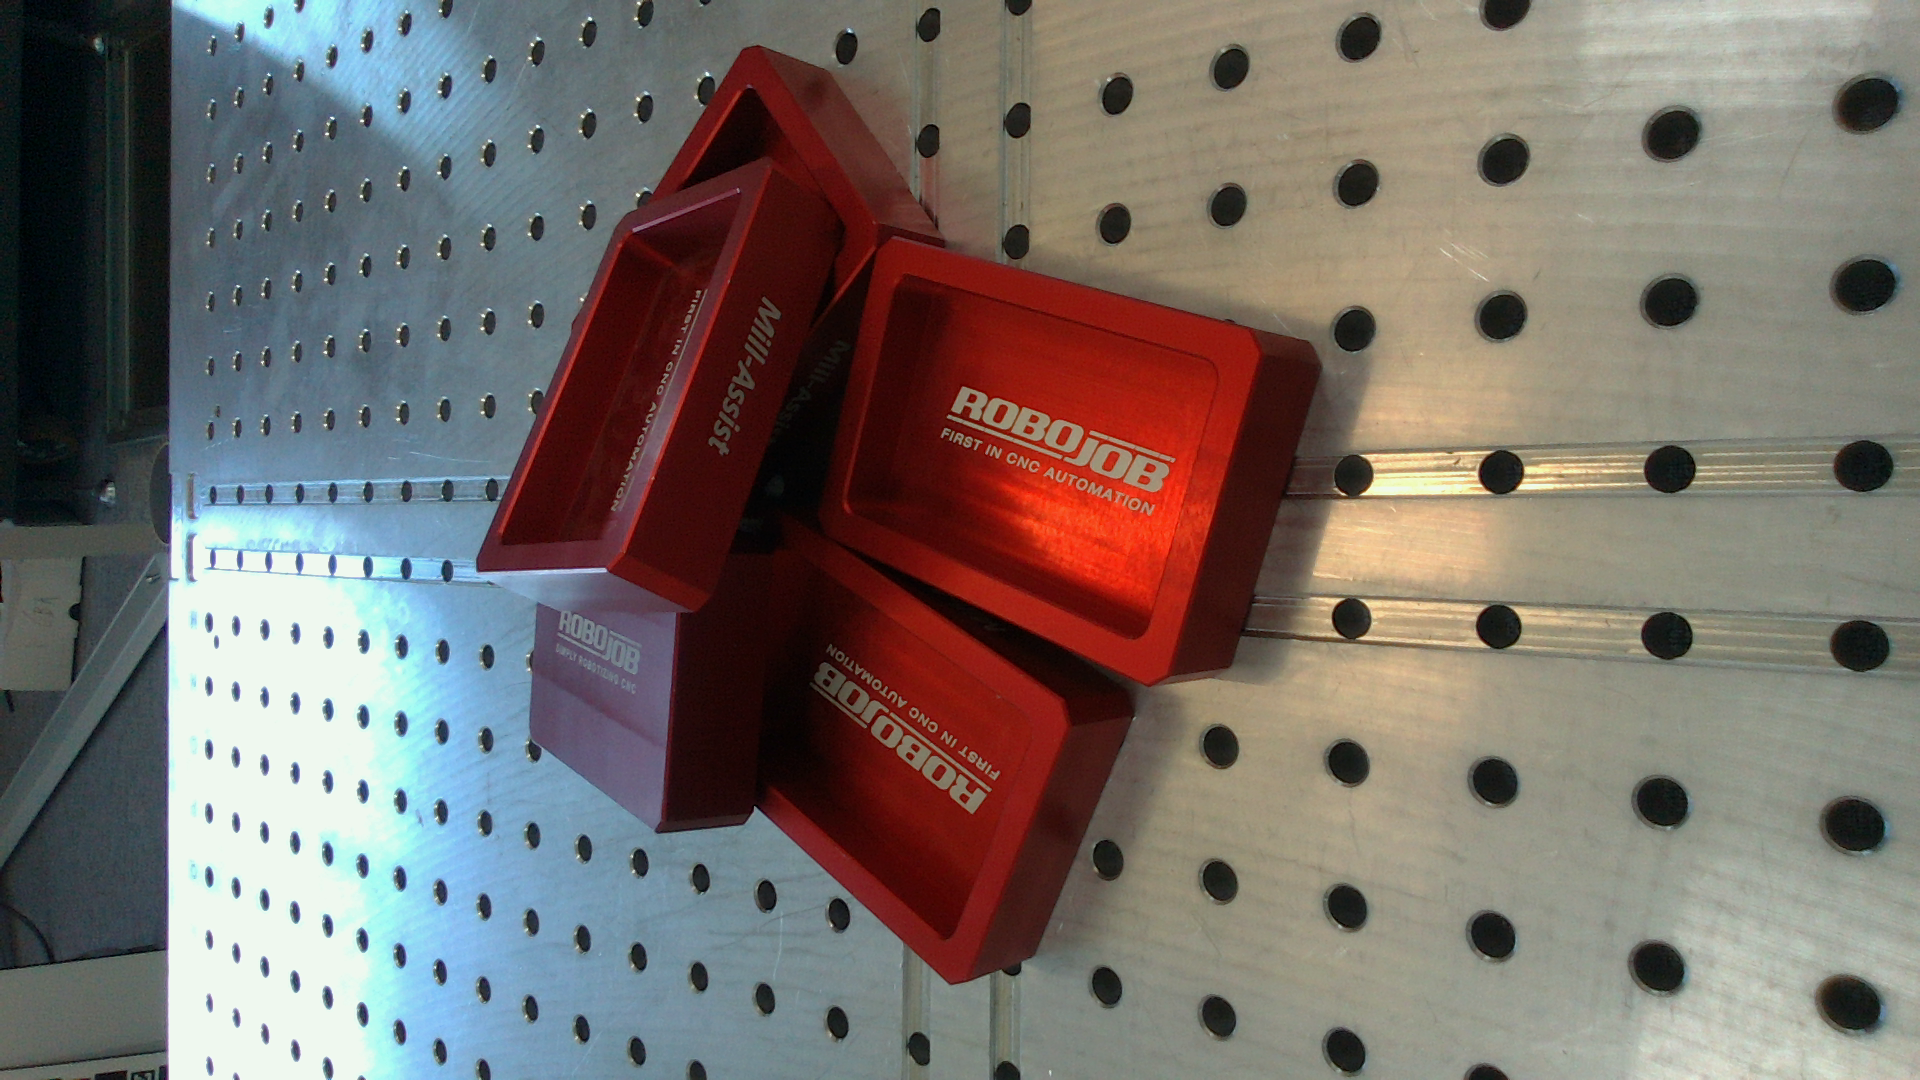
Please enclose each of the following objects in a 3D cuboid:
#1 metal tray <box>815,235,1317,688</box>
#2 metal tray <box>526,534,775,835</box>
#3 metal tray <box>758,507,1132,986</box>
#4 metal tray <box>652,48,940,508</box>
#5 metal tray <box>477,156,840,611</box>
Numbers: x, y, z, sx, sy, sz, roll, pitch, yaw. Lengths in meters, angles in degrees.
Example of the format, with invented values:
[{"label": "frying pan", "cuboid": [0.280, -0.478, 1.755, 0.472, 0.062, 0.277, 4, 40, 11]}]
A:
[{"label": "metal tray", "cuboid": [0.022, -0.025, 0.374, 0.130, 0.030, 0.090, 23, 105, 38]}, {"label": "metal tray", "cuboid": [-0.108, 0.037, 0.464, 0.129, 0.030, 0.090, 12, 98, 54]}, {"label": "metal tray", "cuboid": [-0.020, 0.056, 0.410, 0.130, 0.030, 0.090, 32, 110, 36]}, {"label": "metal tray", "cuboid": [-0.072, -0.081, 0.454, 0.130, 0.030, 0.090, -47, 61, 30]}, {"label": "metal tray", "cuboid": [-0.091, -0.044, 0.415, 0.090, 0.030, 0.130, -3, 64, 47]}]
